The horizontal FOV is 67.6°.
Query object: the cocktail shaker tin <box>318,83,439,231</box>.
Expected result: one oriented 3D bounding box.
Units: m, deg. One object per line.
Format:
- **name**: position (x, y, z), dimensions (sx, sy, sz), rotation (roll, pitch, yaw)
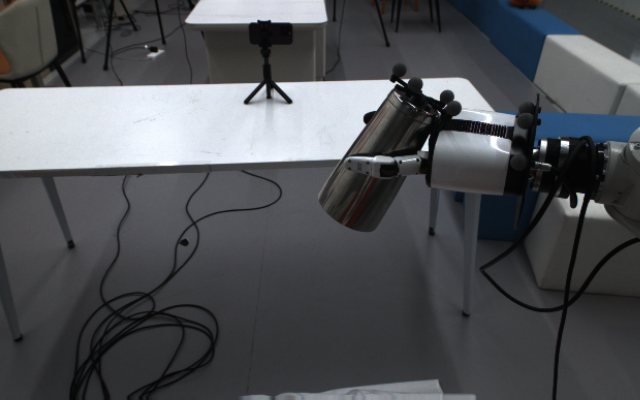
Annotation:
- **cocktail shaker tin**: position (0.078, -0.056, 0.620), dimensions (0.093, 0.170, 0.093), rotation (25, 29, -15)
